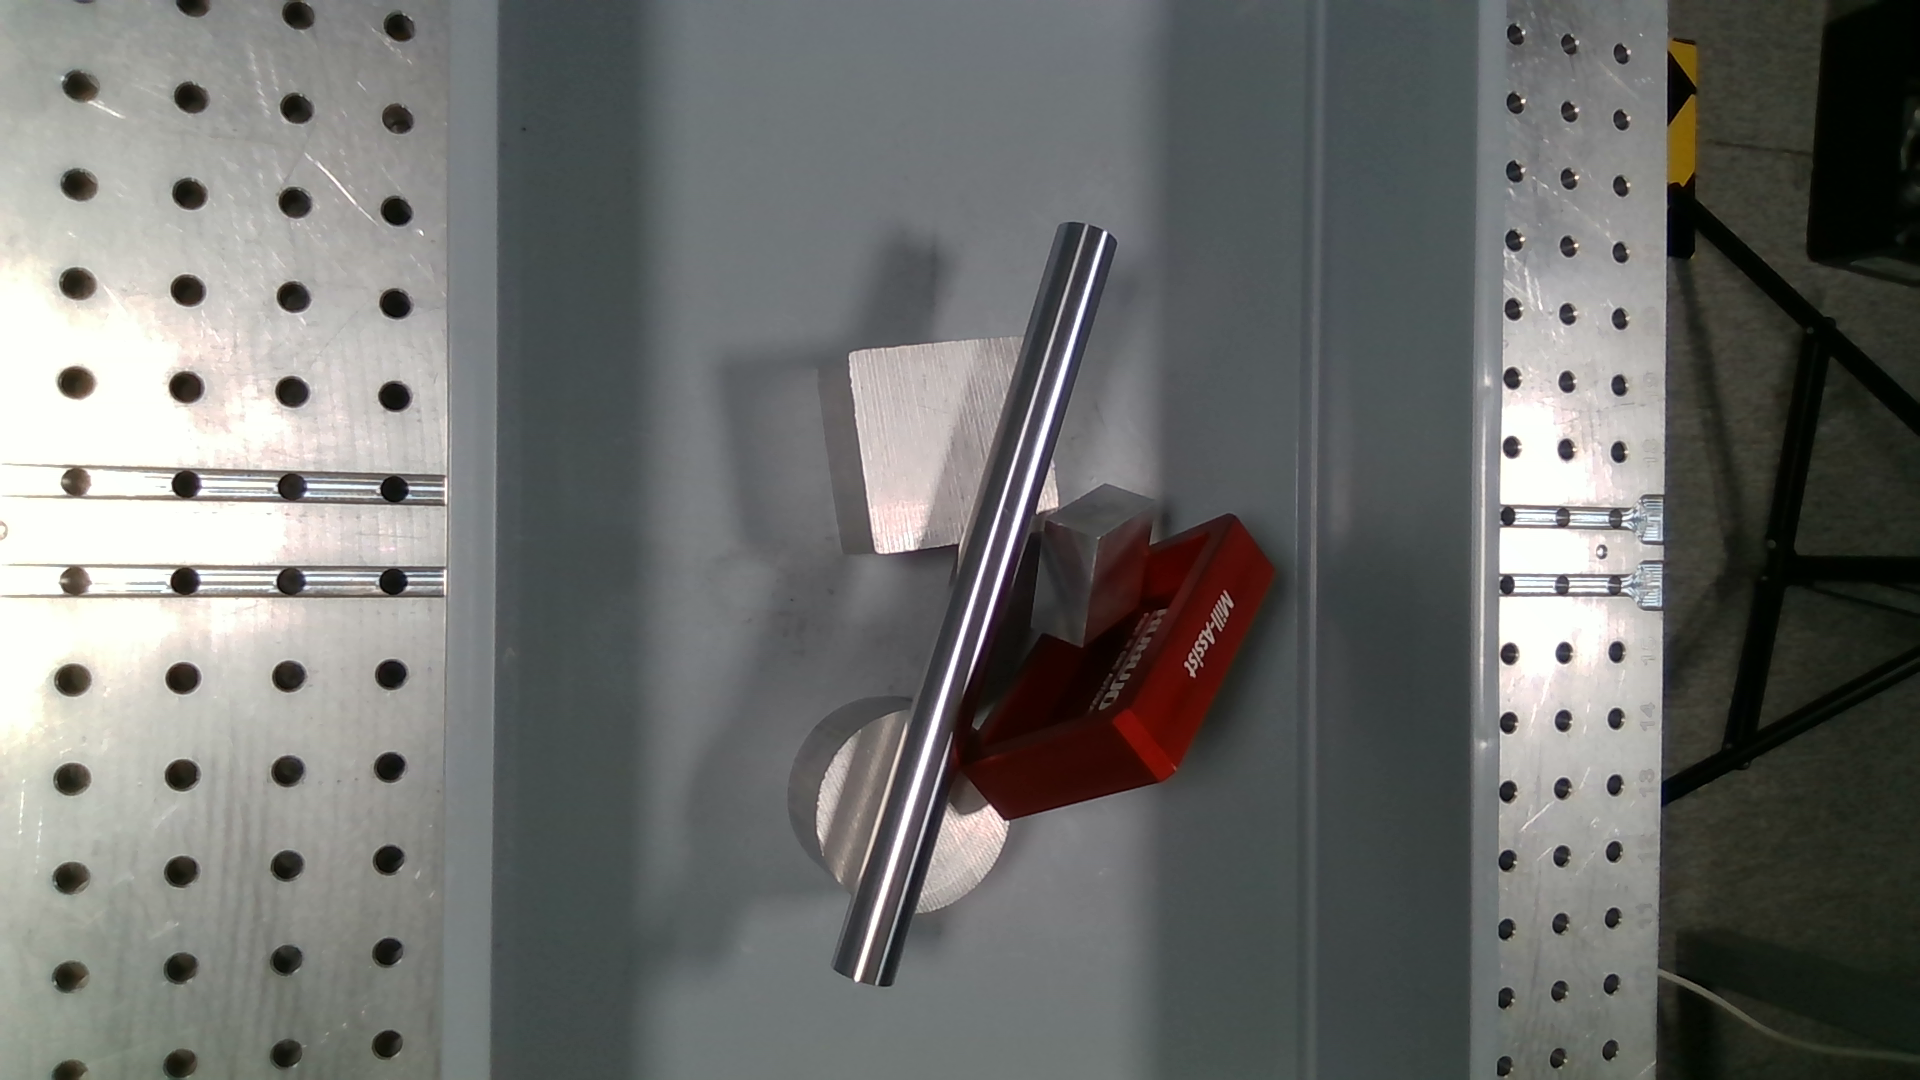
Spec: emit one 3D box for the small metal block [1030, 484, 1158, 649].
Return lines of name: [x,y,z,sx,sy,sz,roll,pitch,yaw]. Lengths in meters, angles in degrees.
small metal block: [0.056,0.010,0.570,0.050,0.025,0.050,-29,133,-50]

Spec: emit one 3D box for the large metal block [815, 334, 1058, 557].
large metal block: [-0.010,-0.039,0.568,0.080,0.050,0.080,-8,93,-20]

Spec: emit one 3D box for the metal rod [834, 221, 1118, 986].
metal rod: [0.008,0.021,0.533,0.025,0.025,0.300,19,84,-19]

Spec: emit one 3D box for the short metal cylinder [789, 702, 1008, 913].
short metal cylinder: [-0.026,0.107,0.562,0.080,0.050,0.080,0,90,-20]

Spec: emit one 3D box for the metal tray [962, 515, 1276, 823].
metal tray: [0.064,0.049,0.548,0.030,0.090,0.130,51,45,-14]
